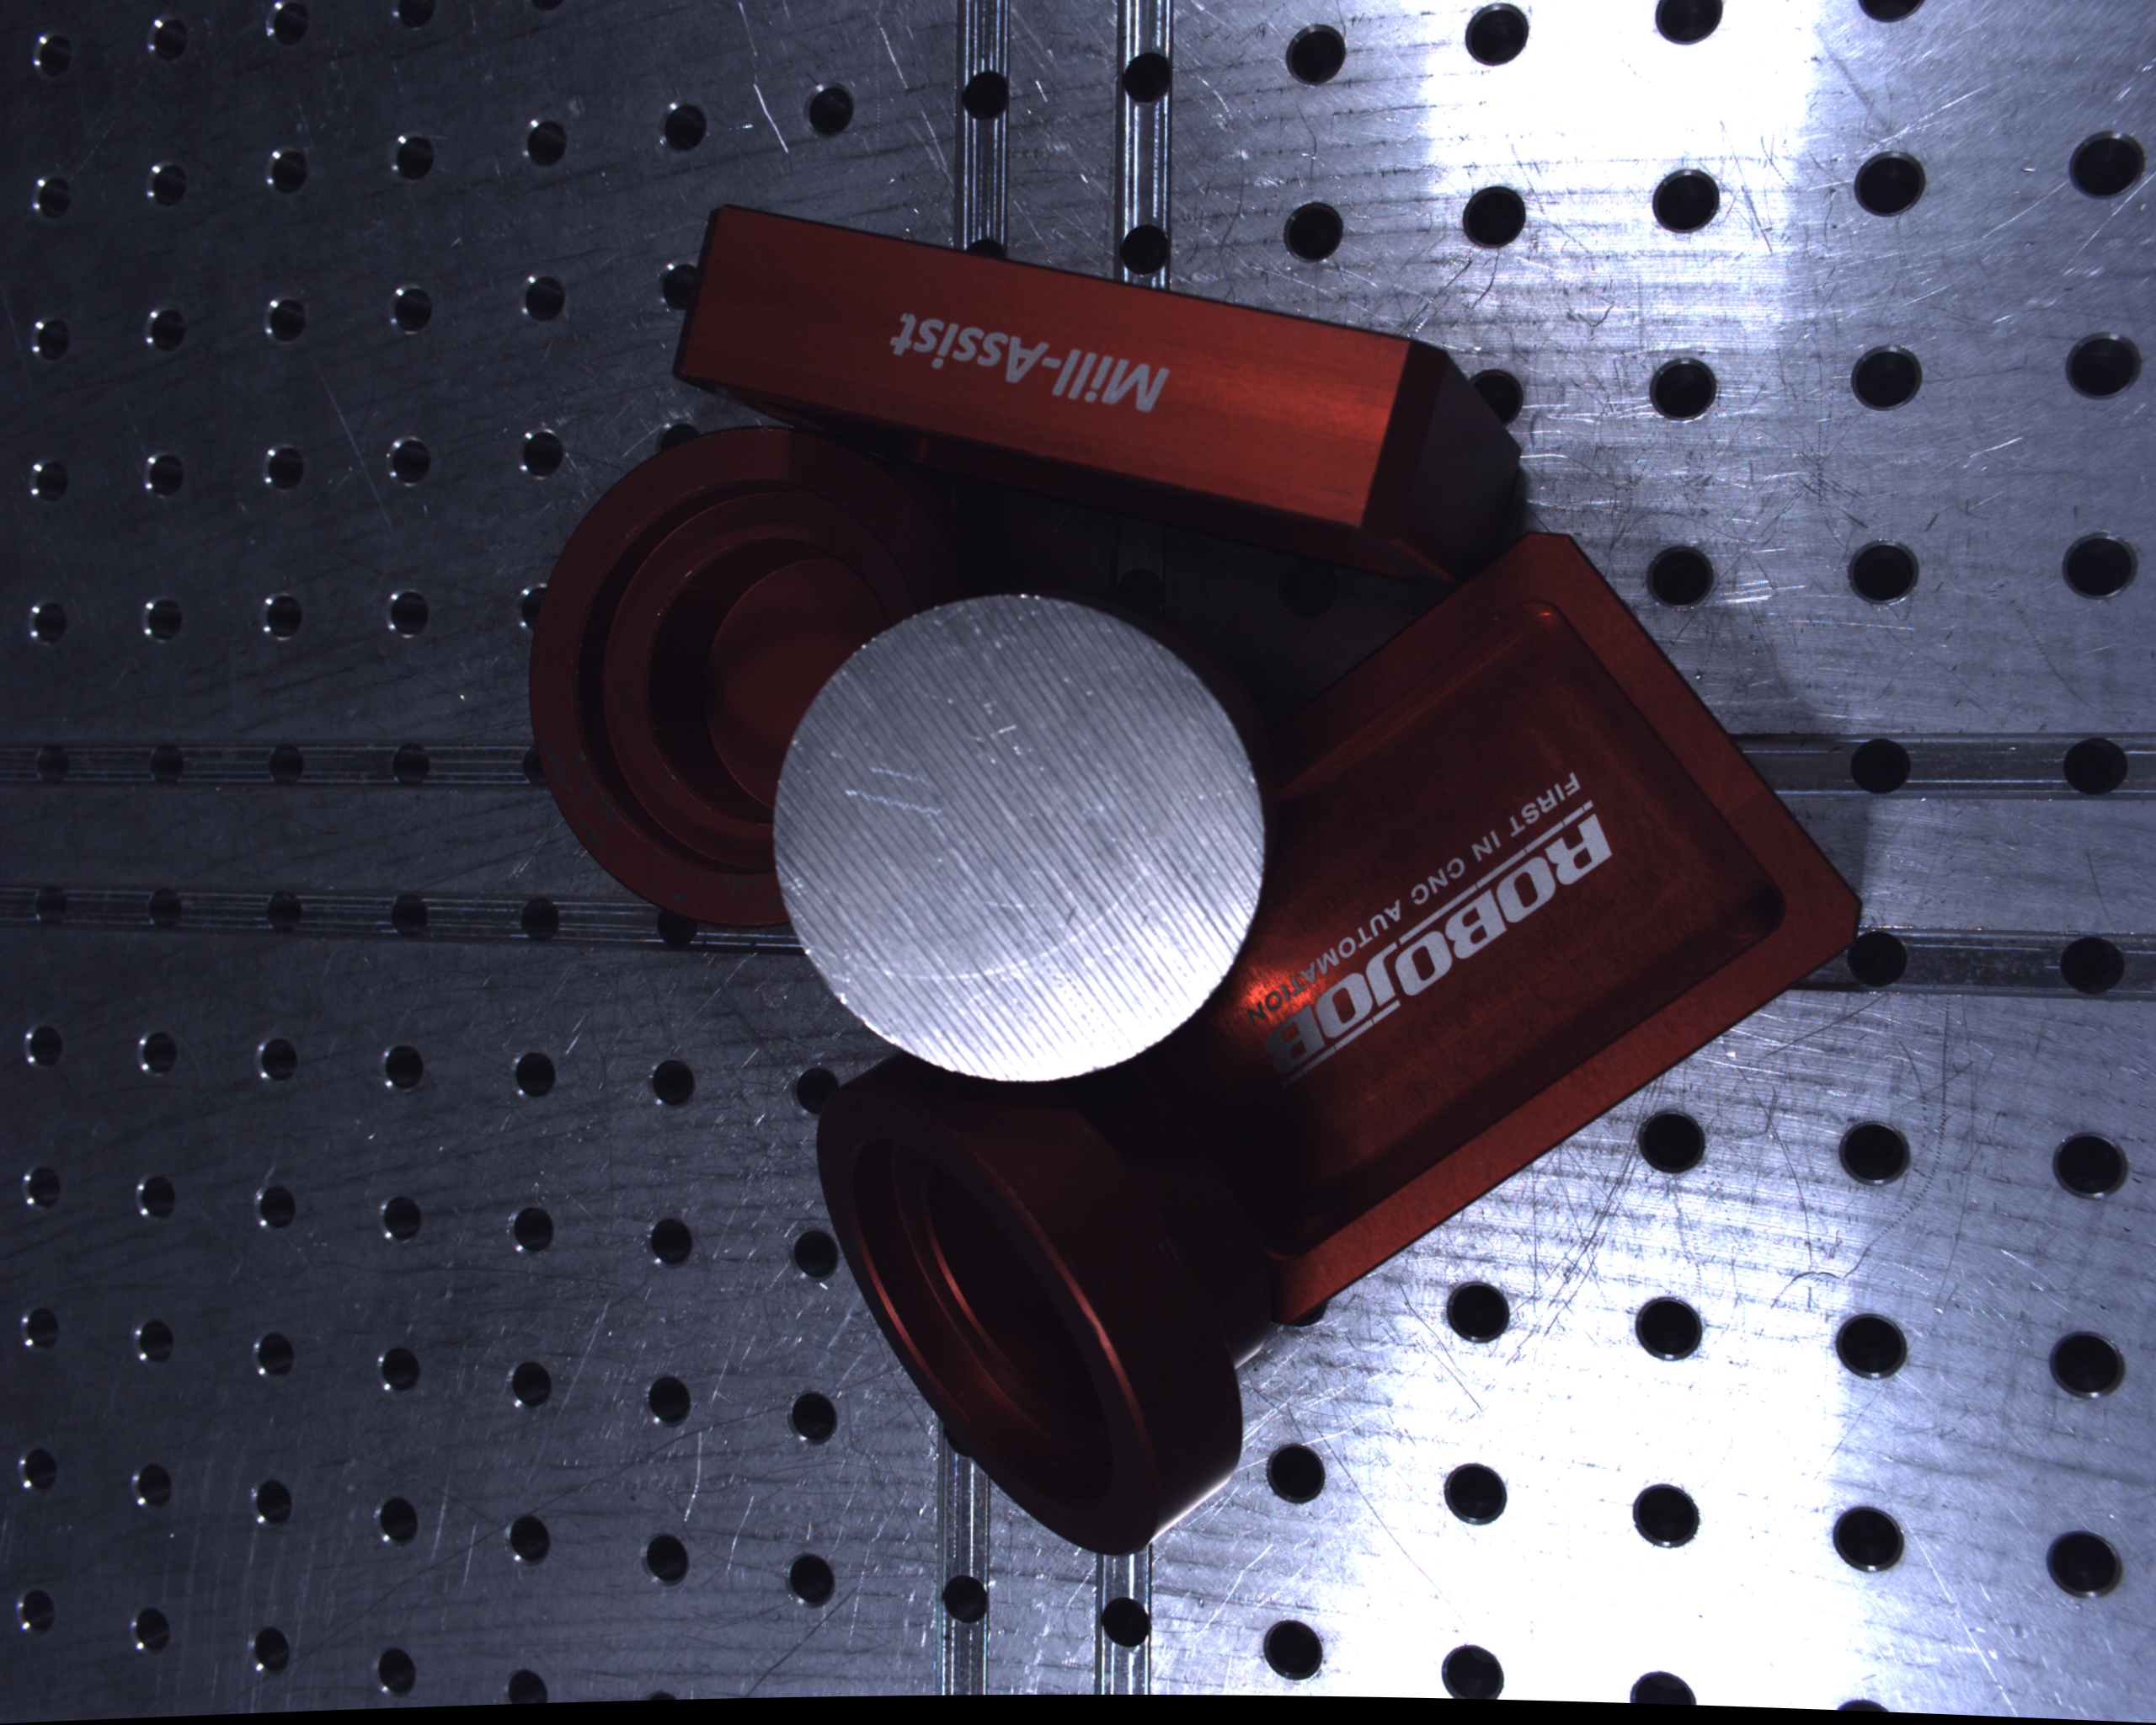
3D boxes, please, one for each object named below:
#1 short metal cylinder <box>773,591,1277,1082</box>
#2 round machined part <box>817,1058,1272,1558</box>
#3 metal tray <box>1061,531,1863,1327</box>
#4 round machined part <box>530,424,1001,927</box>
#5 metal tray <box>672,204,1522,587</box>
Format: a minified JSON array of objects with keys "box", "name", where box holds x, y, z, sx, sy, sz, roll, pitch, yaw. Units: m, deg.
[{"box":[-0.007,-0.007,0.361,0.080,0.050,0.079,1,99,7],"name":"short metal cylinder"},{"box":[-0.003,0.074,0.385,0.098,0.042,0.097,37,143,35],"name":"round machined part"},{"box":[0.064,0.013,0.386,0.130,0.030,0.090,-38,78,15],"name":"metal tray"},{"box":[-0.057,-0.036,0.423,0.098,0.042,0.097,0,90,19],"name":"round machined part"},{"box":[0.007,-0.081,0.375,0.130,0.090,0.030,16,96,19],"name":"metal tray"}]
